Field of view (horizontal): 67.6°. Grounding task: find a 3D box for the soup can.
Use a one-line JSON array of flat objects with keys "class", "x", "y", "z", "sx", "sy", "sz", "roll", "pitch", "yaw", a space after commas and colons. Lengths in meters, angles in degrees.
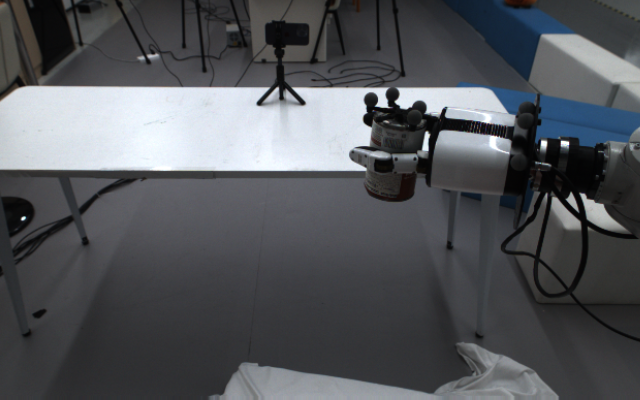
[{"class": "soup can", "x": 0.096, "y": -0.058, "z": 0.619, "sx": 0.067, "sy": 0.101, "sz": 0.067, "roll": 3, "pitch": 30, "yaw": -2}]
